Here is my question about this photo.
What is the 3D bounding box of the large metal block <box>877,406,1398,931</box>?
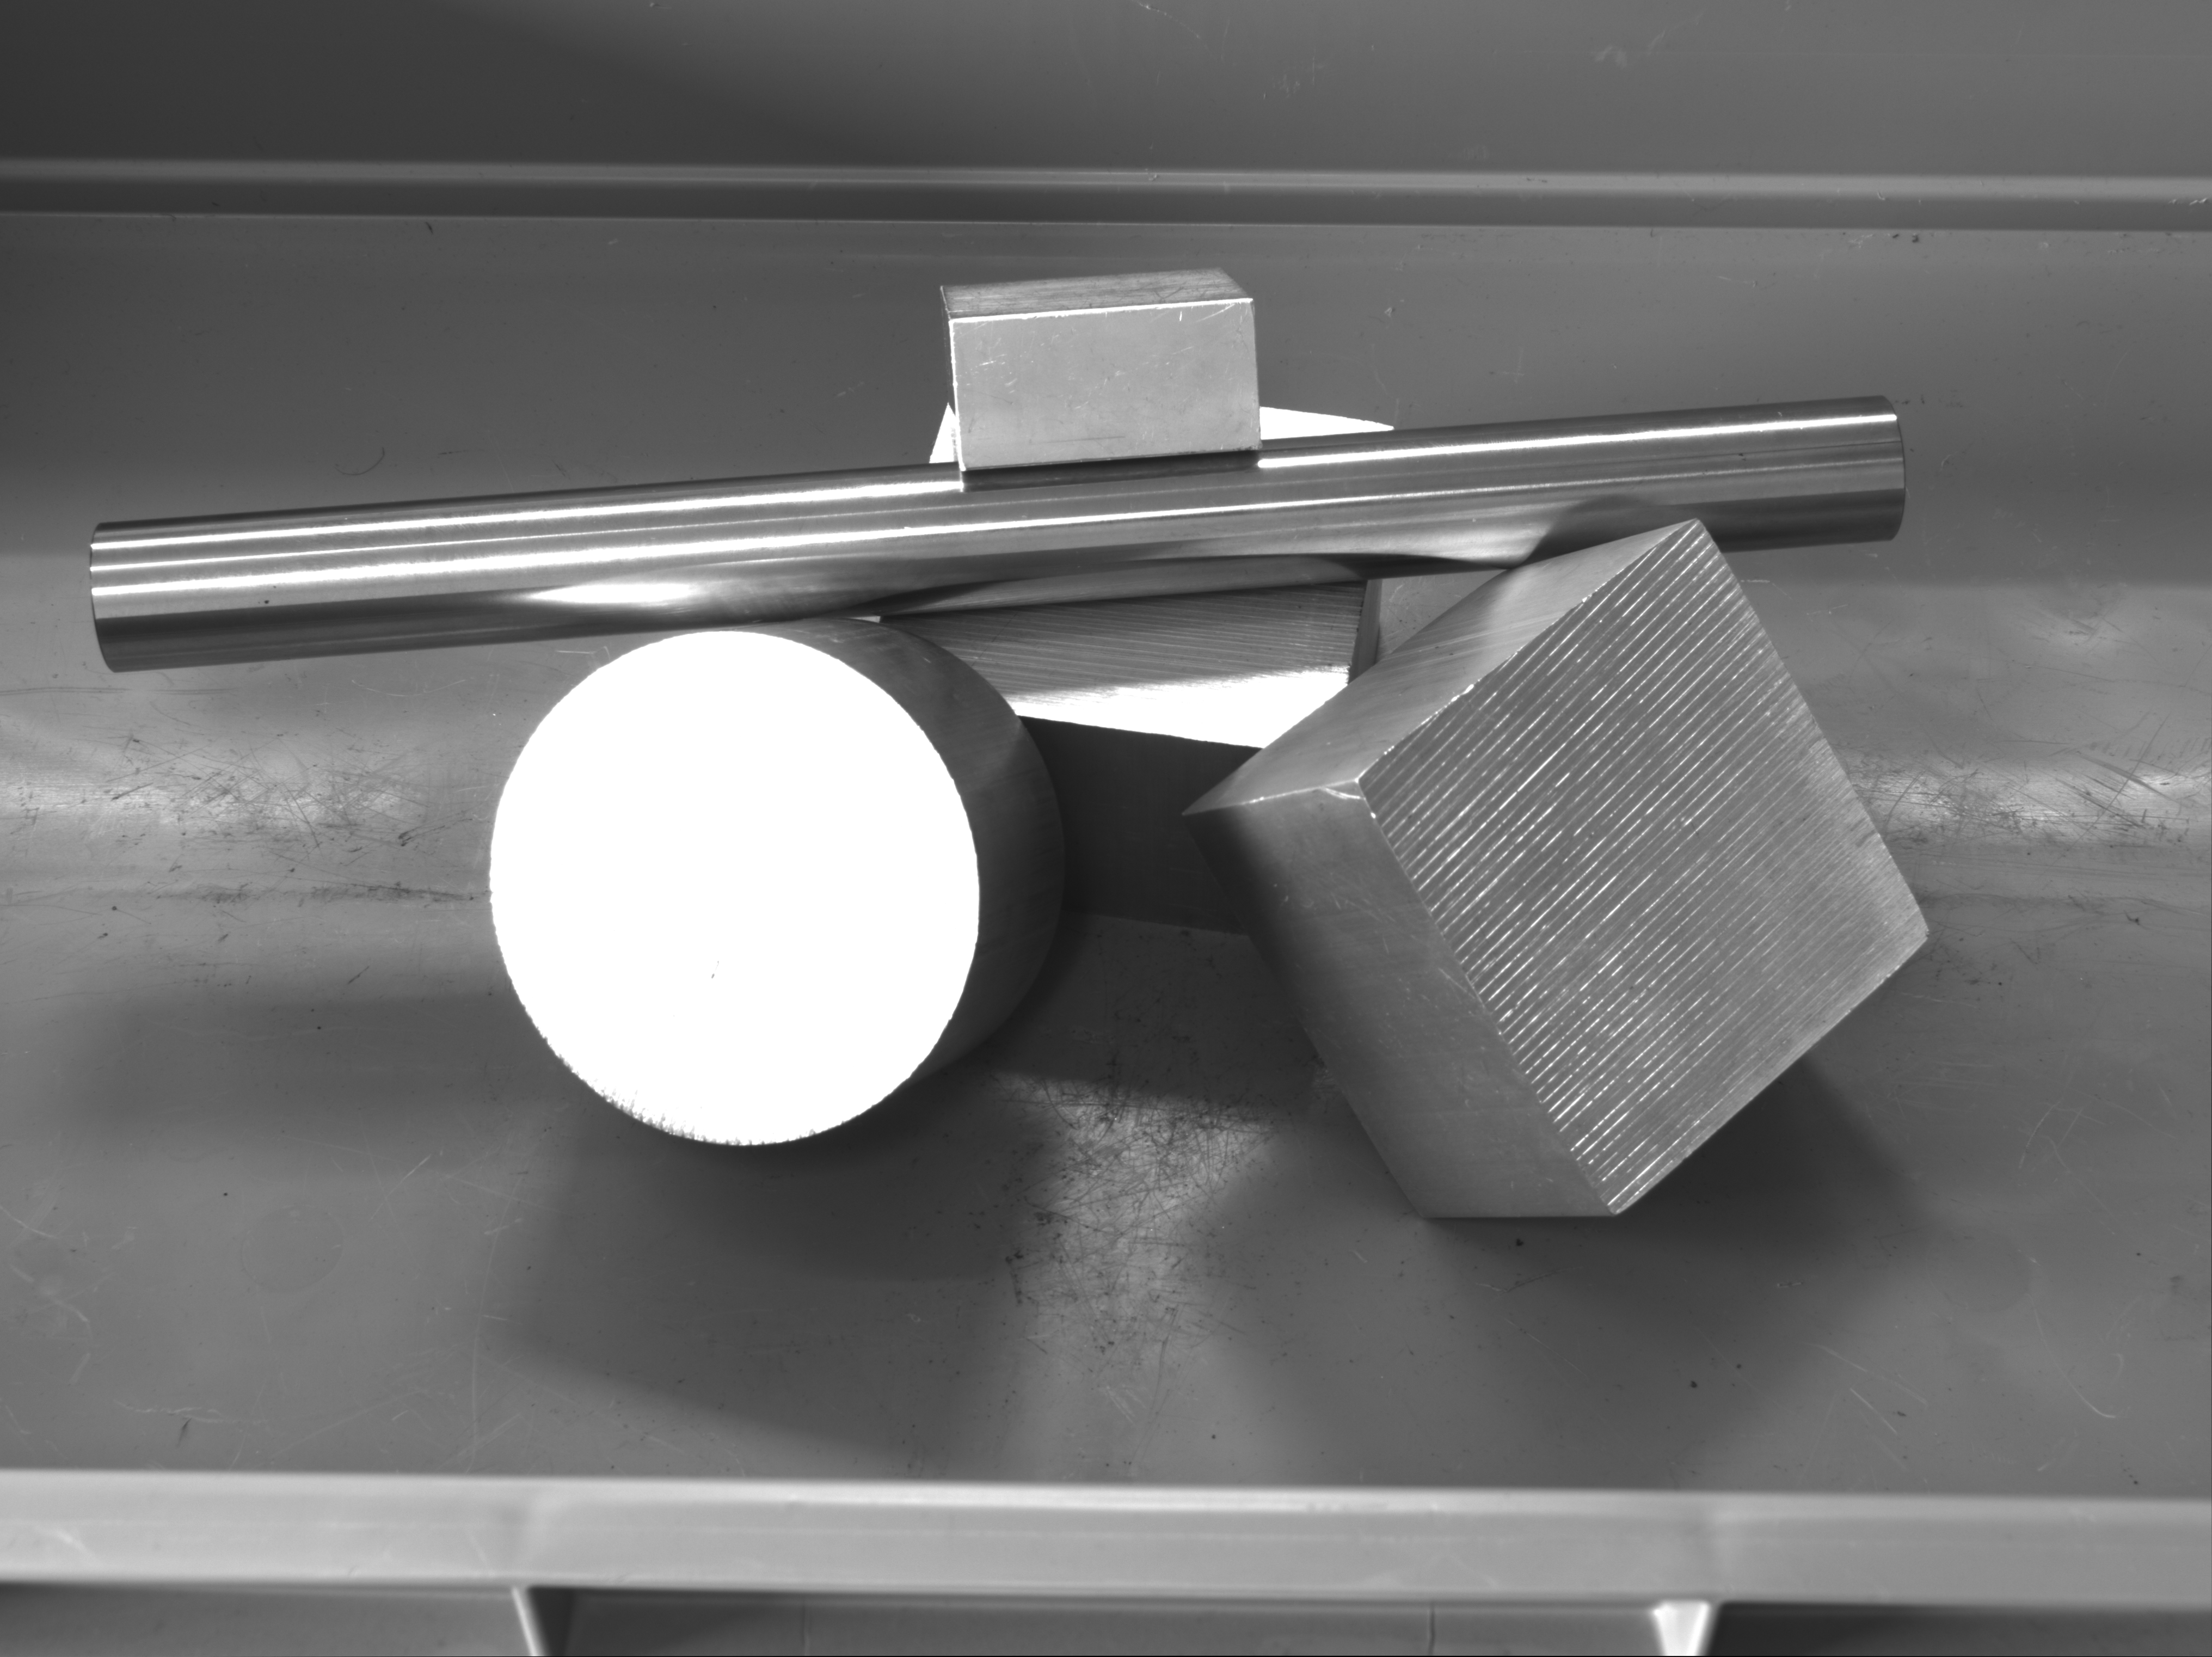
[{"bbox_3d":[0.005,-0.032,0.651,0.080,0.050,0.080,8,50,7],"label":"large metal block"}]

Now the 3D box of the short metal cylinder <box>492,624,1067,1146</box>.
[{"bbox_3d":[-0.051,0.007,0.591,0.080,0.080,0.050,15,9,13],"label":"short metal cylinder"}]

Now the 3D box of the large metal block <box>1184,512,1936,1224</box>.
[{"bbox_3d":[0.073,0.007,0.590,0.080,0.050,0.080,-37,103,-27],"label":"large metal block"}]

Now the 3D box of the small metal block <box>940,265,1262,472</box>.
[{"bbox_3d":[-0.002,-0.079,0.627,0.050,0.025,0.050,-5,15,-3],"label":"small metal block"}]

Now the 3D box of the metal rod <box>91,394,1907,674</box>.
[{"bbox_3d":[-0.016,-0.050,0.618,0.300,0.025,0.025,-5,50,-3],"label":"metal rod"}]
